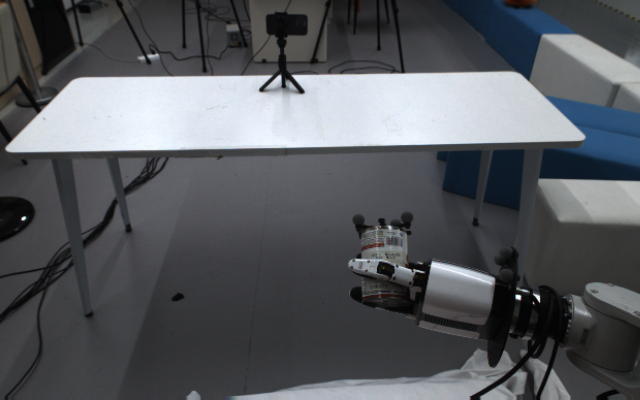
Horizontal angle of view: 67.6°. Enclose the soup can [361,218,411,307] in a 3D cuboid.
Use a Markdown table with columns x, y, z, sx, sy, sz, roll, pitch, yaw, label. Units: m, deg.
| x | y | z | sx | sy | sz | roll | pitch | yaw | label |
| --- | --- | --- | --- | --- | --- | --- | --- | --- | --- |
| 0.093 | 0.094 | 0.678 | 0.067 | 0.067 | 0.101 | 1 | 69 | -1 | soup can |
